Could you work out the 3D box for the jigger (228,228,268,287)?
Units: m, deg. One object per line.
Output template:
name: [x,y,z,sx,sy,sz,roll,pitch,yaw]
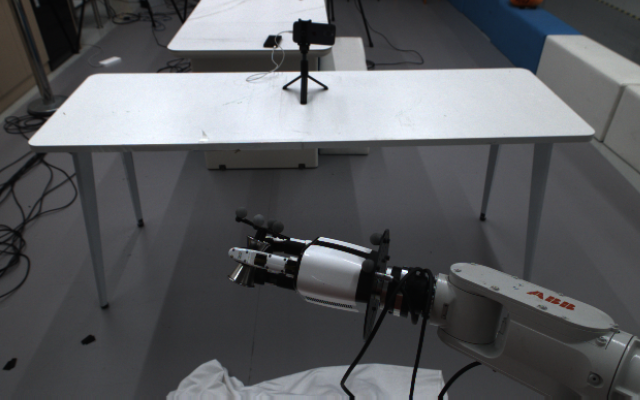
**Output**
jigger: [-0.104,0.088,0.708,0.043,0.071,0.043,24,-2,1]
